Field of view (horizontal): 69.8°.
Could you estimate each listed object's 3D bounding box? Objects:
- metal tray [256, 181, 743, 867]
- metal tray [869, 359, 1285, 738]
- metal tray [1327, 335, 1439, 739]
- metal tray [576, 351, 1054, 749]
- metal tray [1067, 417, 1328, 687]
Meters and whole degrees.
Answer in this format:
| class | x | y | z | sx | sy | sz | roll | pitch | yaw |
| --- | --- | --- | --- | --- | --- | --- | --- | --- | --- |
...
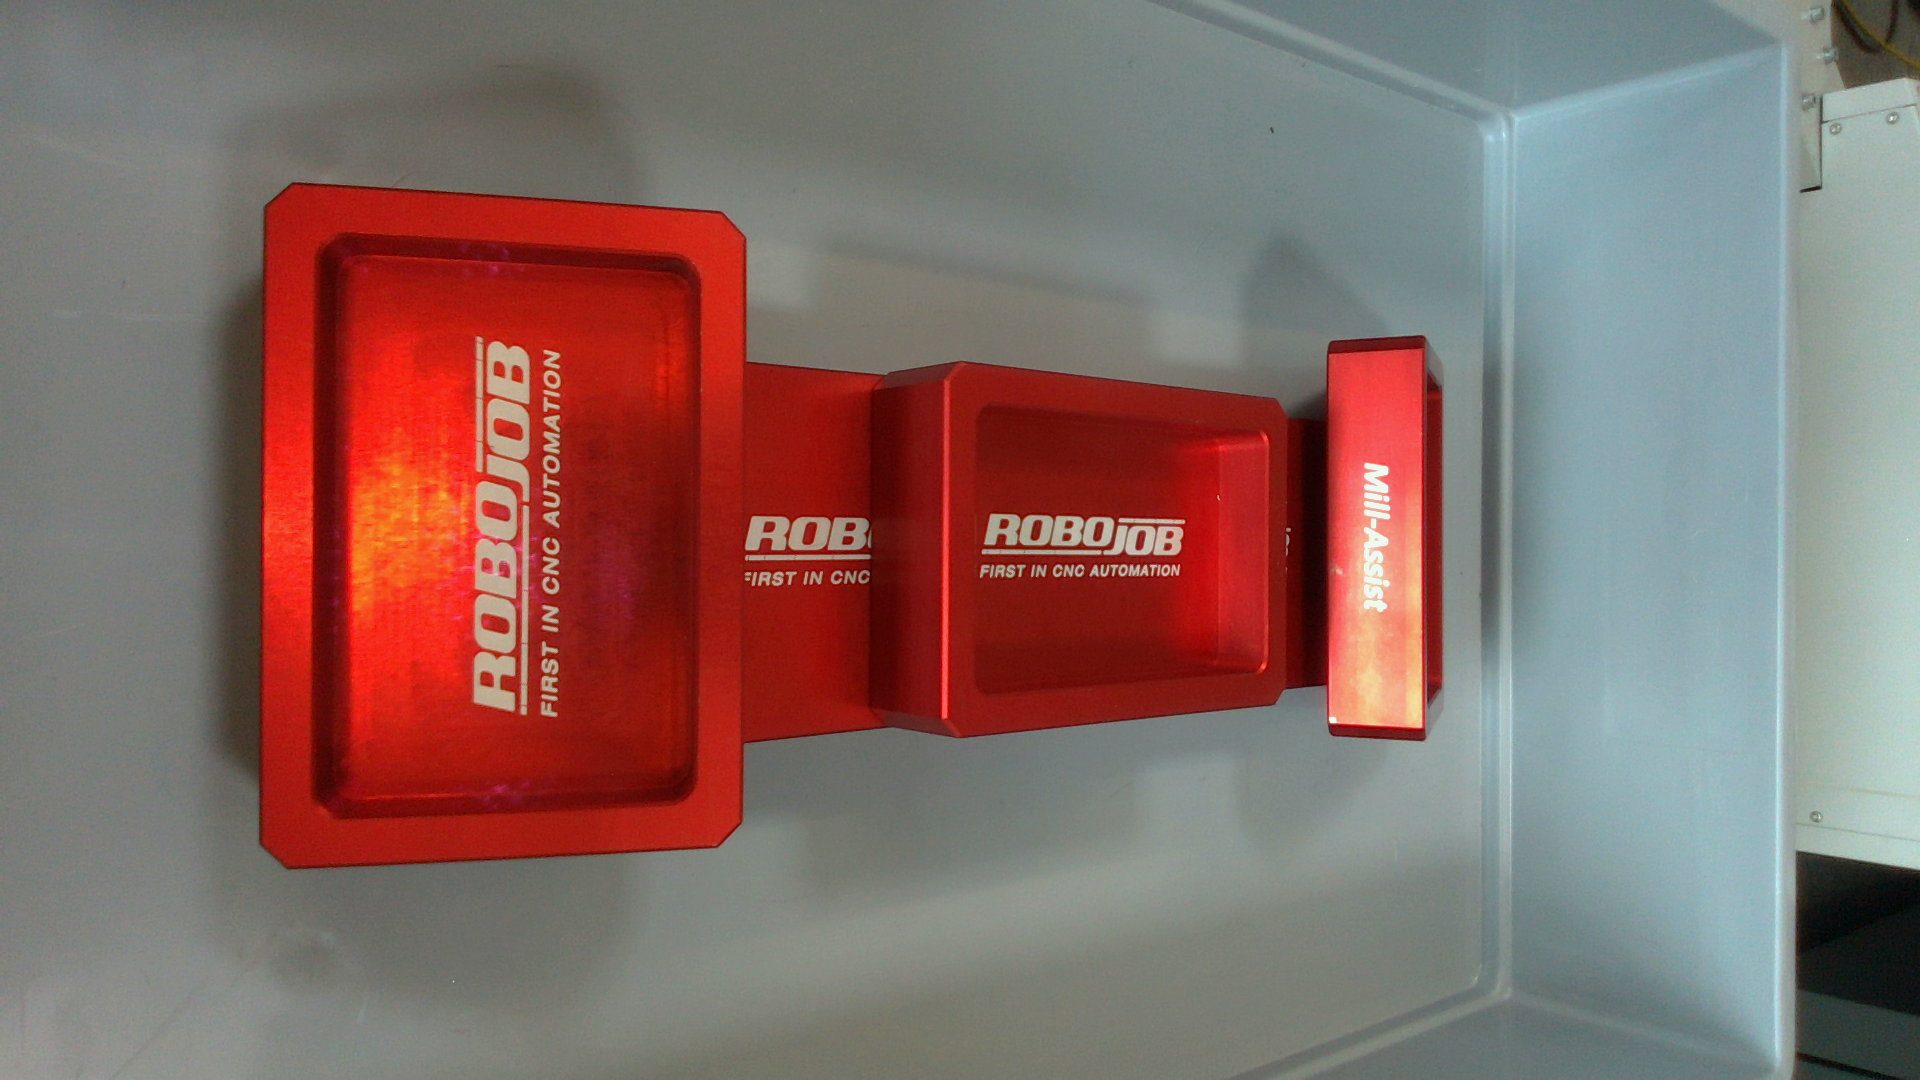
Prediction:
| class | x | y | z | sx | sy | sz | roll | pitch | yaw |
| --- | --- | --- | --- | --- | --- | --- | --- | --- | --- |
| metal tray | -0.092 | -0.003 | 0.284 | 0.090 | 0.030 | 0.130 | 1 | 90 | -14 |
| metal tray | 0.037 | 0.003 | 0.375 | 0.131 | 0.030 | 0.090 | 1 | 89 | -40 |
| metal tray | 0.151 | -0.001 | 0.485 | 0.090 | 0.030 | 0.130 | 0 | 90 | -68 |
| metal tray | -0.032 | 0.003 | 0.358 | 0.131 | 0.030 | 0.090 | 0 | 90 | -40 |
| metal tray | 0.068 | 0.004 | 0.442 | 0.131 | 0.030 | 0.090 | 0 | 90 | -40 |
